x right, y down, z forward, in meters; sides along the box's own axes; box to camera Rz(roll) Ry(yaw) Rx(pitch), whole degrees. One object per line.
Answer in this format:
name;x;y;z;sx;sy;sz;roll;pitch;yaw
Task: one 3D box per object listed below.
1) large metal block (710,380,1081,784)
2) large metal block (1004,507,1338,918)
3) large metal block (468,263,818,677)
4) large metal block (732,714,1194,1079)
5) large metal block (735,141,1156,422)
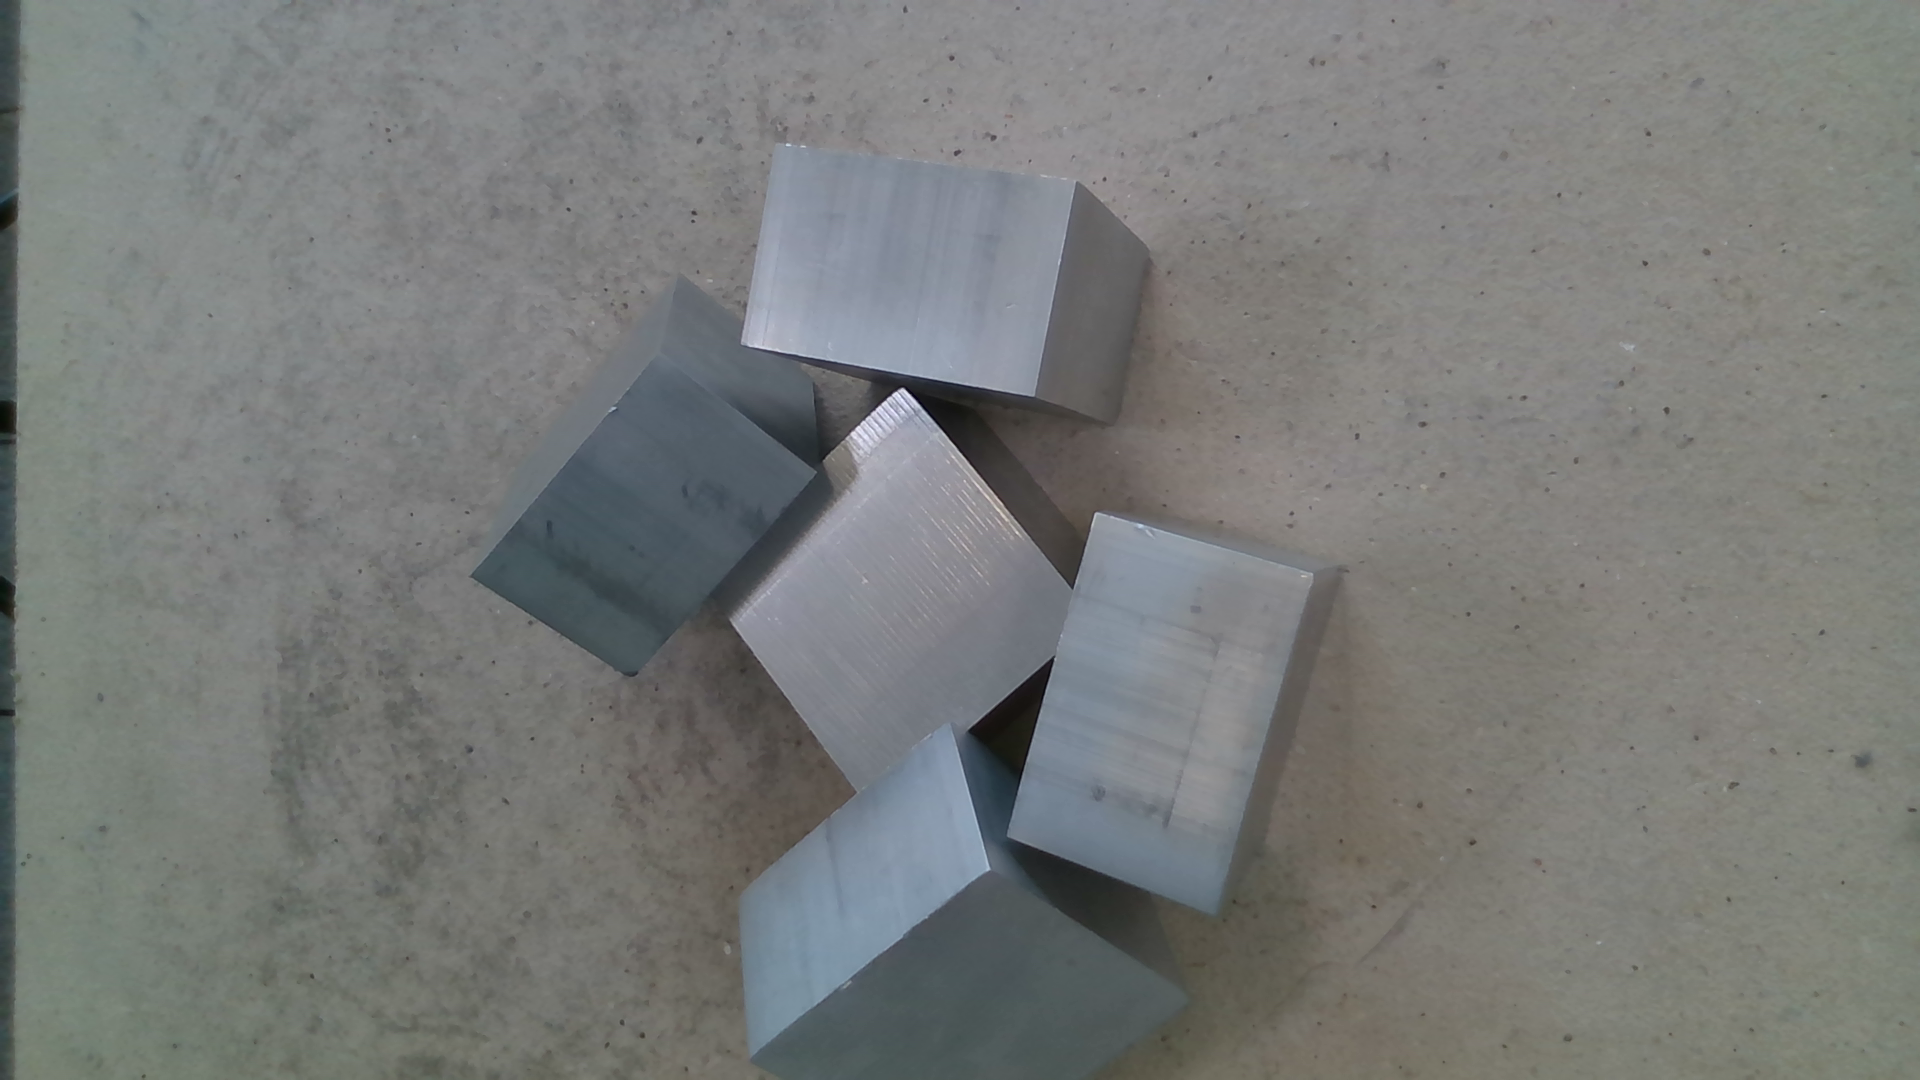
large metal block;-0.010;0.015;0.383;0.080;0.050;0.080;-43;76;16
large metal block;0.057;0.038;0.345;0.050;0.080;0.080;17;96;19
large metal block;-0.086;-0.022;0.390;0.050;0.080;0.080;38;105;-22
large metal block;-0.001;0.105;0.359;0.080;0.080;0.050;-41;33;15
large metal block;-0.001;-0.066;0.365;0.080;0.080;0.050;13;95;20
